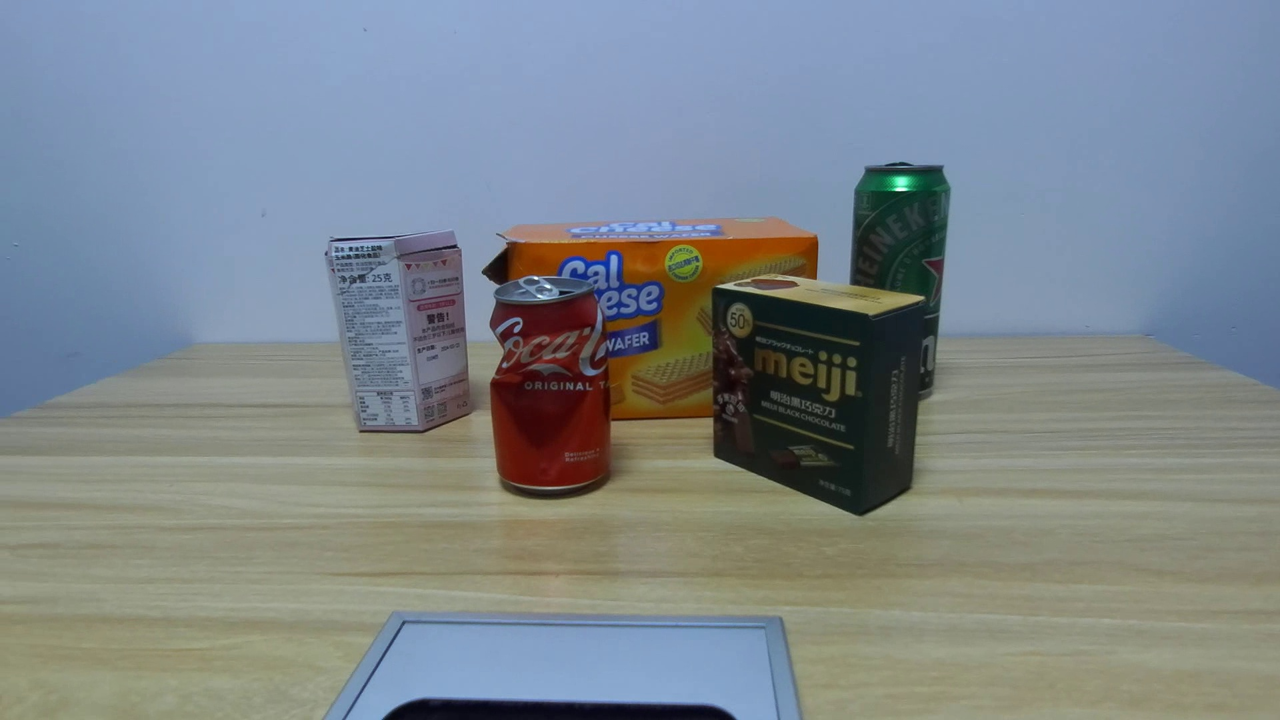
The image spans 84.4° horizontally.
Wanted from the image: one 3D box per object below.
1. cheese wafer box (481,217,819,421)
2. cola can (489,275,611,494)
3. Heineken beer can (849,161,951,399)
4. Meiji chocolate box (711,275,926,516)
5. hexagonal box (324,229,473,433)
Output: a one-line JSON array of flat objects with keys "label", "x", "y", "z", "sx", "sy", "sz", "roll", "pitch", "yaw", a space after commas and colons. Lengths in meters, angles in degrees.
[{"label": "cheese wafer box", "x": 0.011, "y": -0.040, "z": 0.549, "sx": 0.227, "sy": 0.137, "sz": 0.149, "roll": -1, "pitch": 16, "yaw": -1}, {"label": "cola can", "x": -0.052, "y": 0.012, "z": 0.401, "sx": 0.066, "sy": 0.117, "sz": 0.066, "roll": -4, "pitch": 18, "yaw": -9}, {"label": "Heineken beer can", "x": 0.190, "y": -0.057, "z": 0.526, "sx": 0.067, "sy": 0.169, "sz": 0.067, "roll": -2, "pitch": 16, "yaw": 1}, {"label": "Meiji chocolate box", "x": 0.097, "y": 0.014, "z": 0.399, "sx": 0.056, "sy": 0.109, "sz": 0.109, "roll": -15, "pitch": 21, "yaw": -38}, {"label": "hexagonal box", "x": -0.171, "y": -0.024, "z": 0.509, "sx": 0.084, "sy": 0.135, "sz": 0.092, "roll": 10, "pitch": 21, "yaw": 37}]
